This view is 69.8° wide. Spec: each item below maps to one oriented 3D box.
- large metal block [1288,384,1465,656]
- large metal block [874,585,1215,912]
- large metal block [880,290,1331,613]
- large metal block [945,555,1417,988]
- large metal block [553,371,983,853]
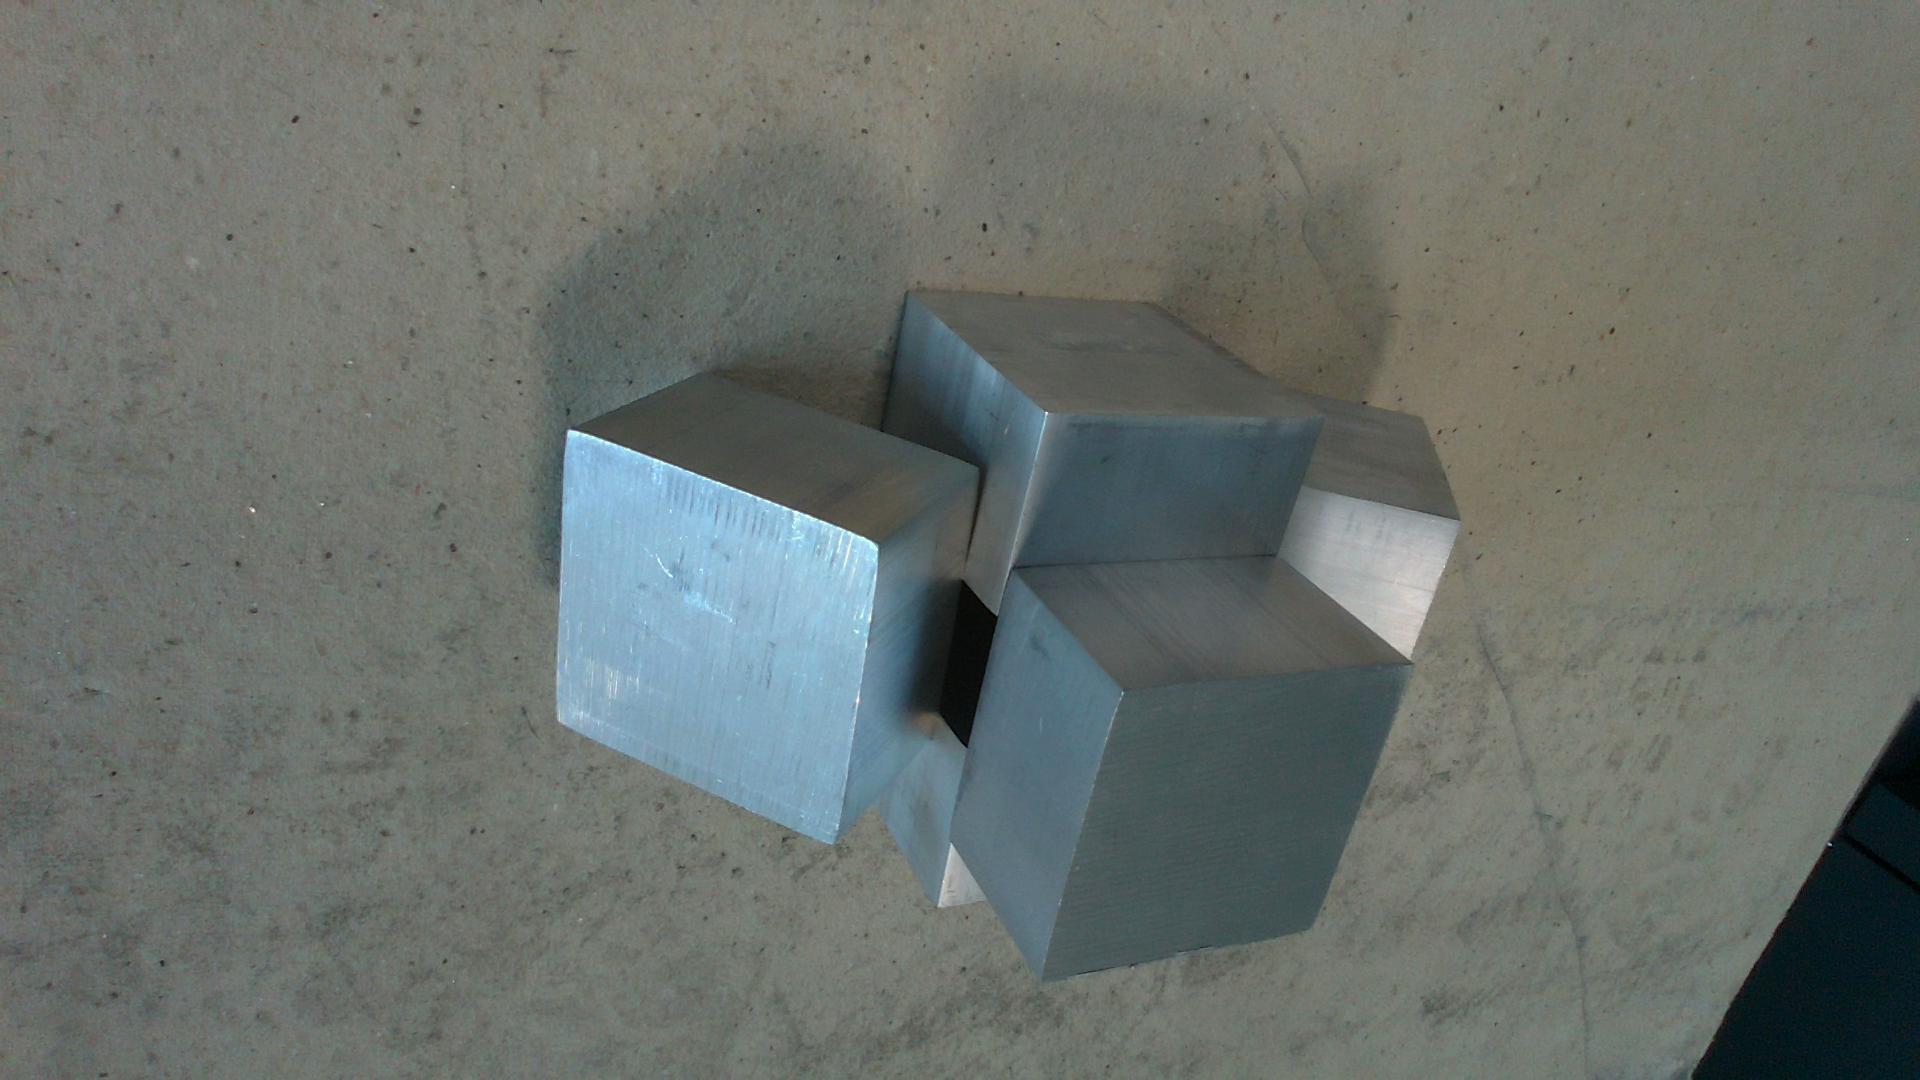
[{"bbox_3d":[0.104,0.007,0.405,0.050,0.080,0.080,13,117,4],"label":"large metal block"},{"bbox_3d":[0.015,0.054,0.398,0.080,0.080,0.050,-4,120,-26],"label":"large metal block"},{"bbox_3d":[0.033,-0.026,0.356,0.080,0.080,0.050,-2,120,-28],"label":"large metal block"},{"bbox_3d":[0.050,0.052,0.329,0.080,0.050,0.080,-2,119,-27],"label":"large metal block"},{"bbox_3d":[-0.047,0.015,0.329,0.050,0.080,0.080,-40,145,-57],"label":"large metal block"}]
